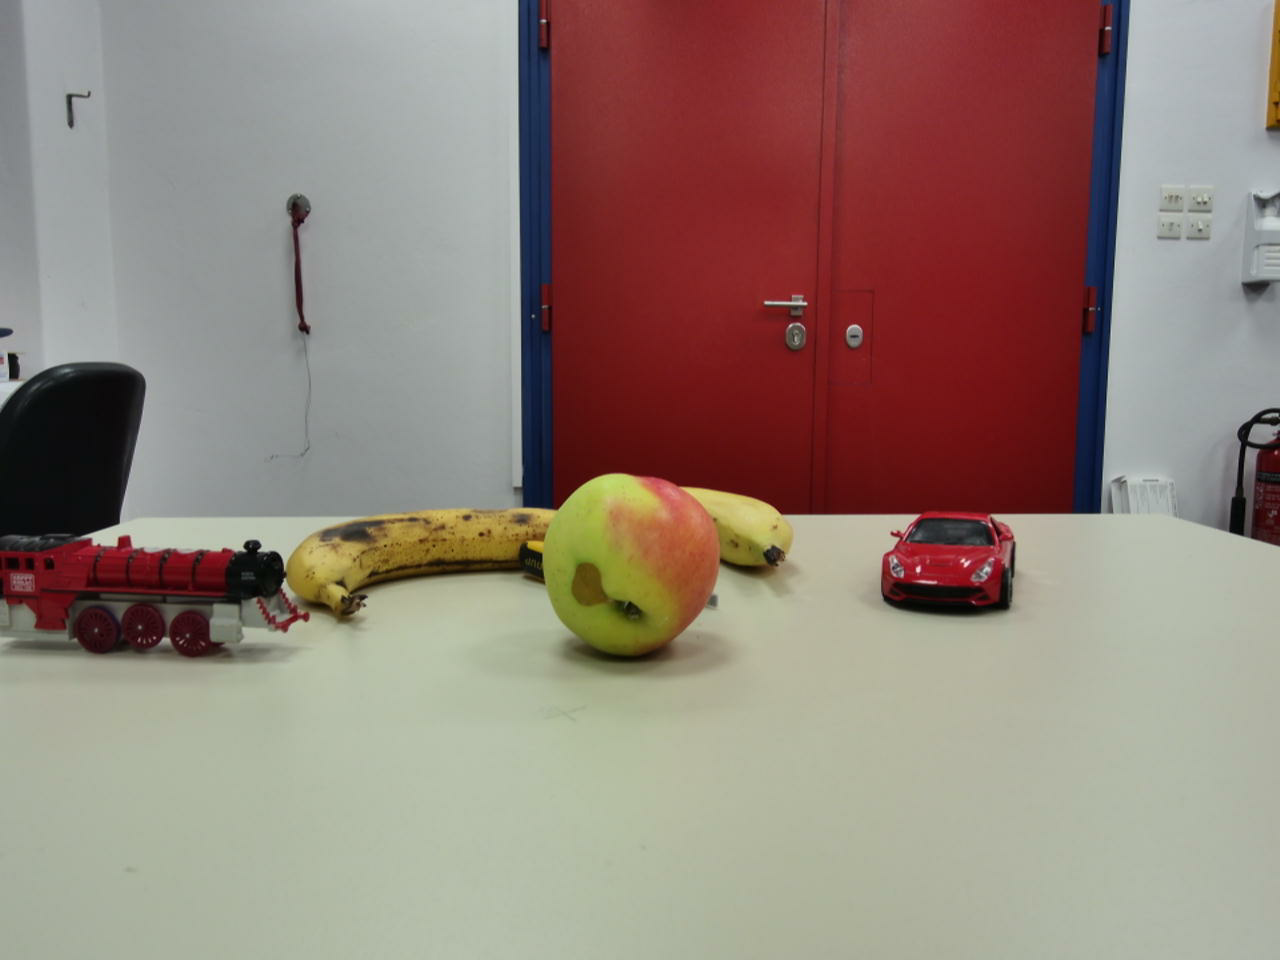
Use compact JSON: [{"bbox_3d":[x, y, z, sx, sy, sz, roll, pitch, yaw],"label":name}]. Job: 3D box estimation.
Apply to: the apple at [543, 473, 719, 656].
[{"bbox_3d":[-0.004,0.035,0.423,0.075,0.074,0.075,-2,4,-20],"label":"apple"}]
